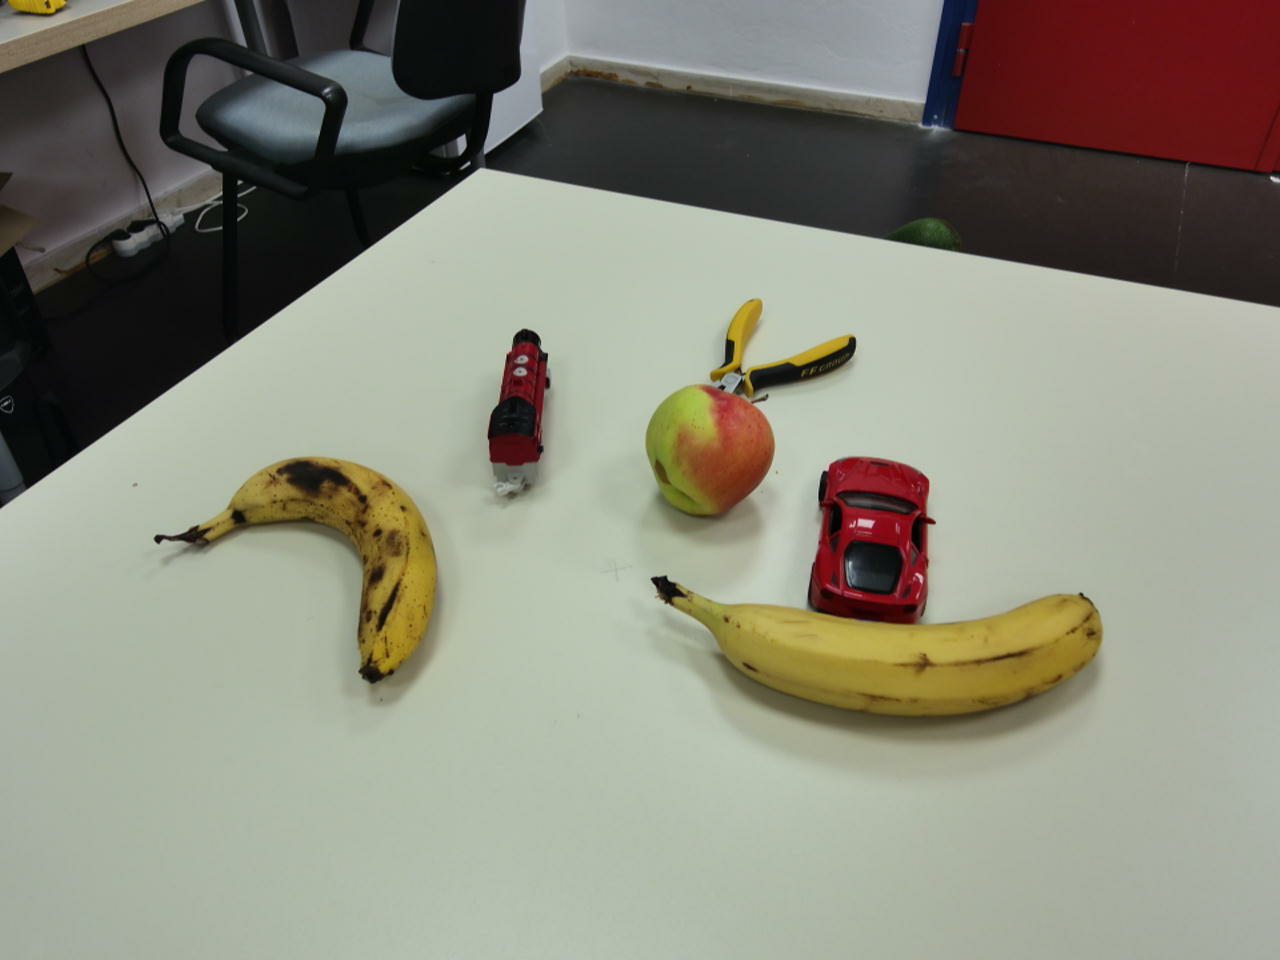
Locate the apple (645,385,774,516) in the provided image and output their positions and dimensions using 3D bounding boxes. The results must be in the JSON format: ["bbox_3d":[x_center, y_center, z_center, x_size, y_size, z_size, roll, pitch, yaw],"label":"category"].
[{"bbox_3d":[0.040,-0.018,0.589,0.075,0.074,0.075,2,38,4],"label":"apple"}]
